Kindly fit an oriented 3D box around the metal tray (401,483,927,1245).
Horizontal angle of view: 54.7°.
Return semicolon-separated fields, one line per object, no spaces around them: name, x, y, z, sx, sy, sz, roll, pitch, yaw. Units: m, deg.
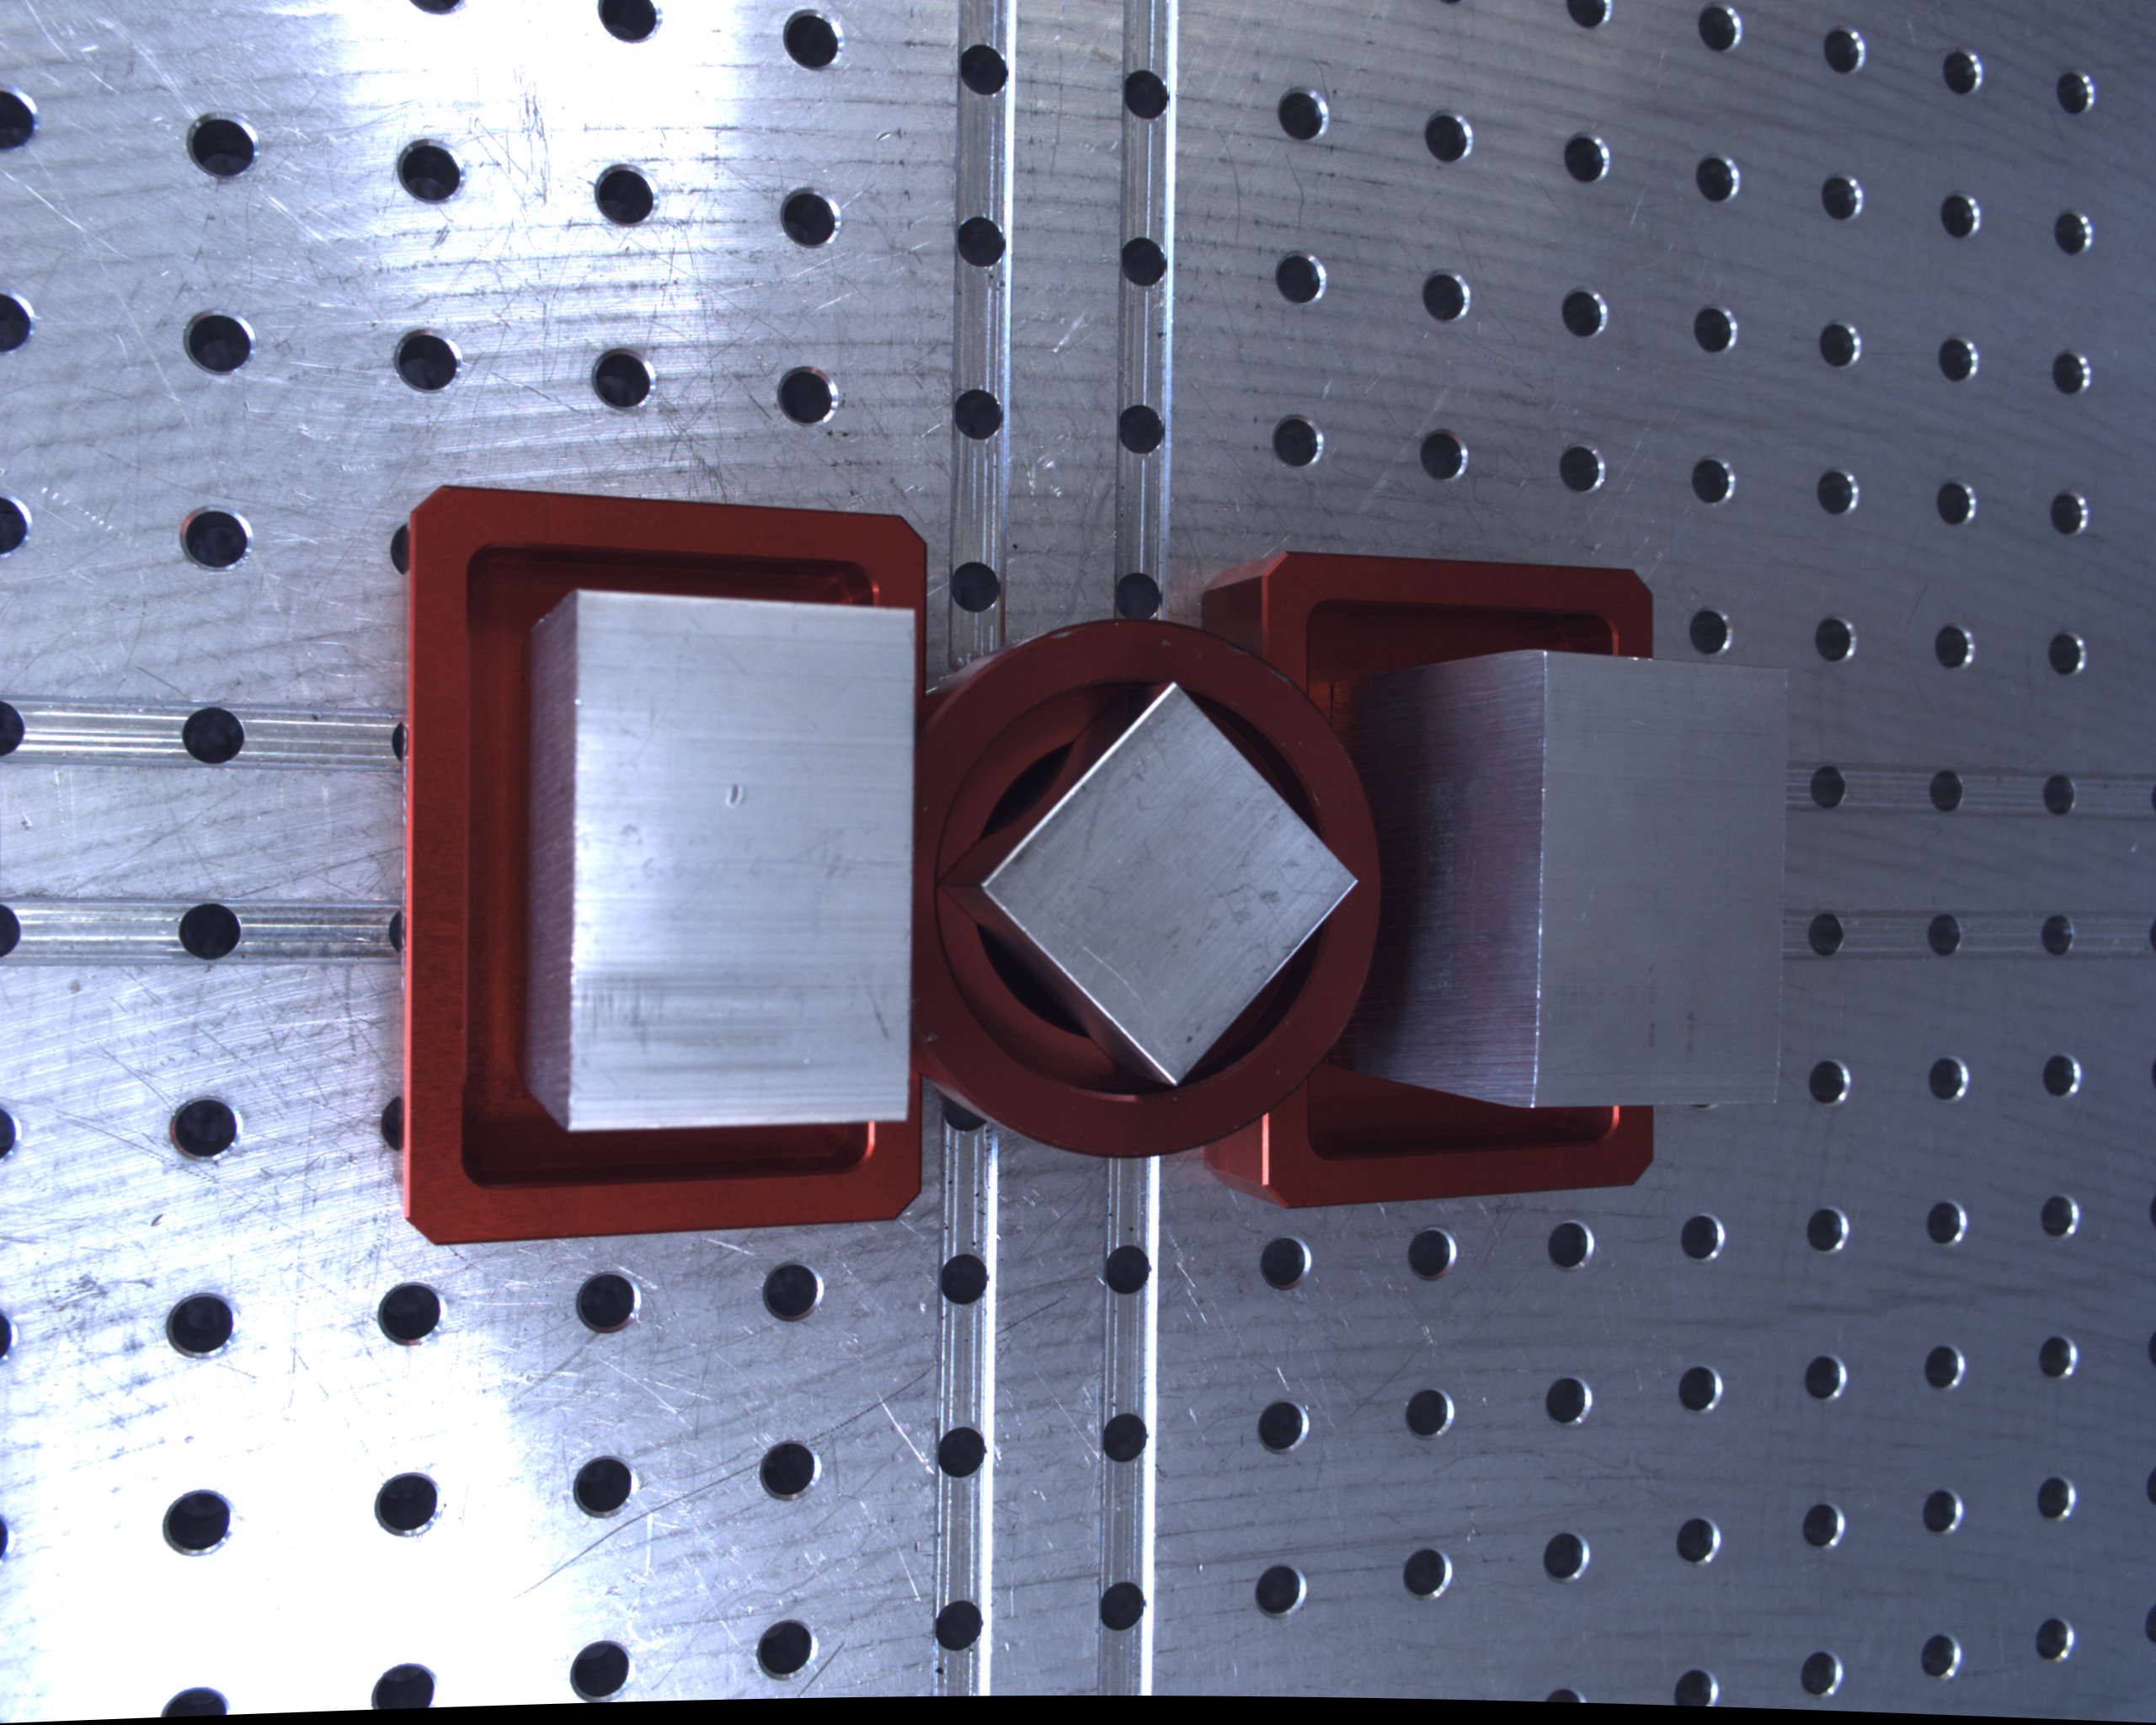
metal tray;-0.076;0.001;0.381;0.091;0.030;0.129;1;90;-20

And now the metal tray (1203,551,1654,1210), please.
metal tray;0.074;0.003;0.436;0.091;0.030;0.129;0;90;-20

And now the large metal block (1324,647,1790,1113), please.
large metal block;0.089;0.003;0.402;0.050;0.080;0.080;2;90;-20

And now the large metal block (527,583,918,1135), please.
large metal block;-0.062;-0.001;0.346;0.050;0.080;0.080;1;90;-20

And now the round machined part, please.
round machined part;0.004;0.005;0.396;0.099;0.042;0.097;0;90;-20

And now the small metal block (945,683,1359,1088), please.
small metal block;0.013;0.004;0.374;0.050;0.025;0.050;46;76;-14
